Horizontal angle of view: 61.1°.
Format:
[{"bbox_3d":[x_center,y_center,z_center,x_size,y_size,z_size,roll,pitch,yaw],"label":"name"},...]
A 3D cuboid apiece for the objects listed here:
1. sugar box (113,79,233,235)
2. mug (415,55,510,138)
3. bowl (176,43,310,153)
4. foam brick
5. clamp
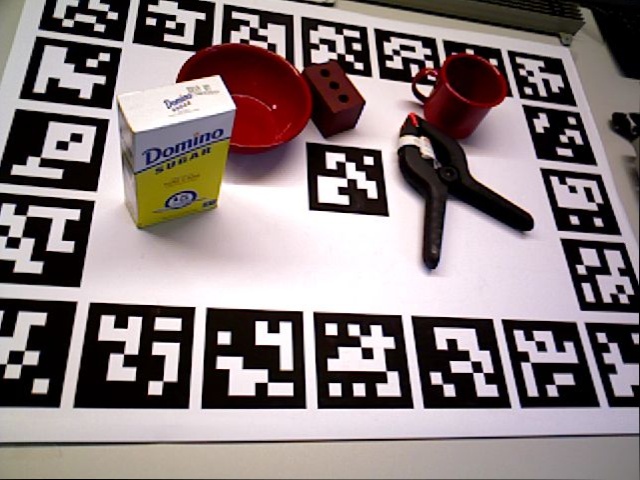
[{"bbox_3d":[-0.143,-0.074,0.522,0.091,0.180,0.045,-21,72,-25],"label":"sugar box"},{"bbox_3d":[0.180,-0.197,0.722,0.117,0.083,0.091,28,60,-4],"label":"mug"},{"bbox_3d":[-0.096,-0.160,0.647,0.160,0.056,0.160,6,63,-13],"label":"bowl"},{"bbox_3d":[0.013,-0.174,0.692,0.052,0.052,0.078,-24,73,-24],"label":"foam brick"},{"bbox_3d":[0.152,-0.076,0.677,0.162,0.037,0.202,-20,72,-21],"label":"clamp"}]
